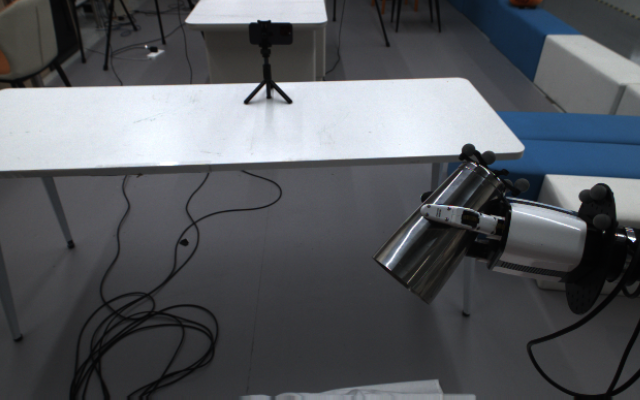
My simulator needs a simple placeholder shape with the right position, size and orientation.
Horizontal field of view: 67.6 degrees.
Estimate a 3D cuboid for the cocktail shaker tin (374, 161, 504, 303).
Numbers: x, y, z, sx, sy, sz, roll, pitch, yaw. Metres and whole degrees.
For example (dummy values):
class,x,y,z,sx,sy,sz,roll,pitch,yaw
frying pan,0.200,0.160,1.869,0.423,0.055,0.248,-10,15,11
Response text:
class,x,y,z,sx,sy,sz,roll,pitch,yaw
cocktail shaker tin,0.156,0.032,0.611,0.170,0.093,0.093,-48,49,-3
